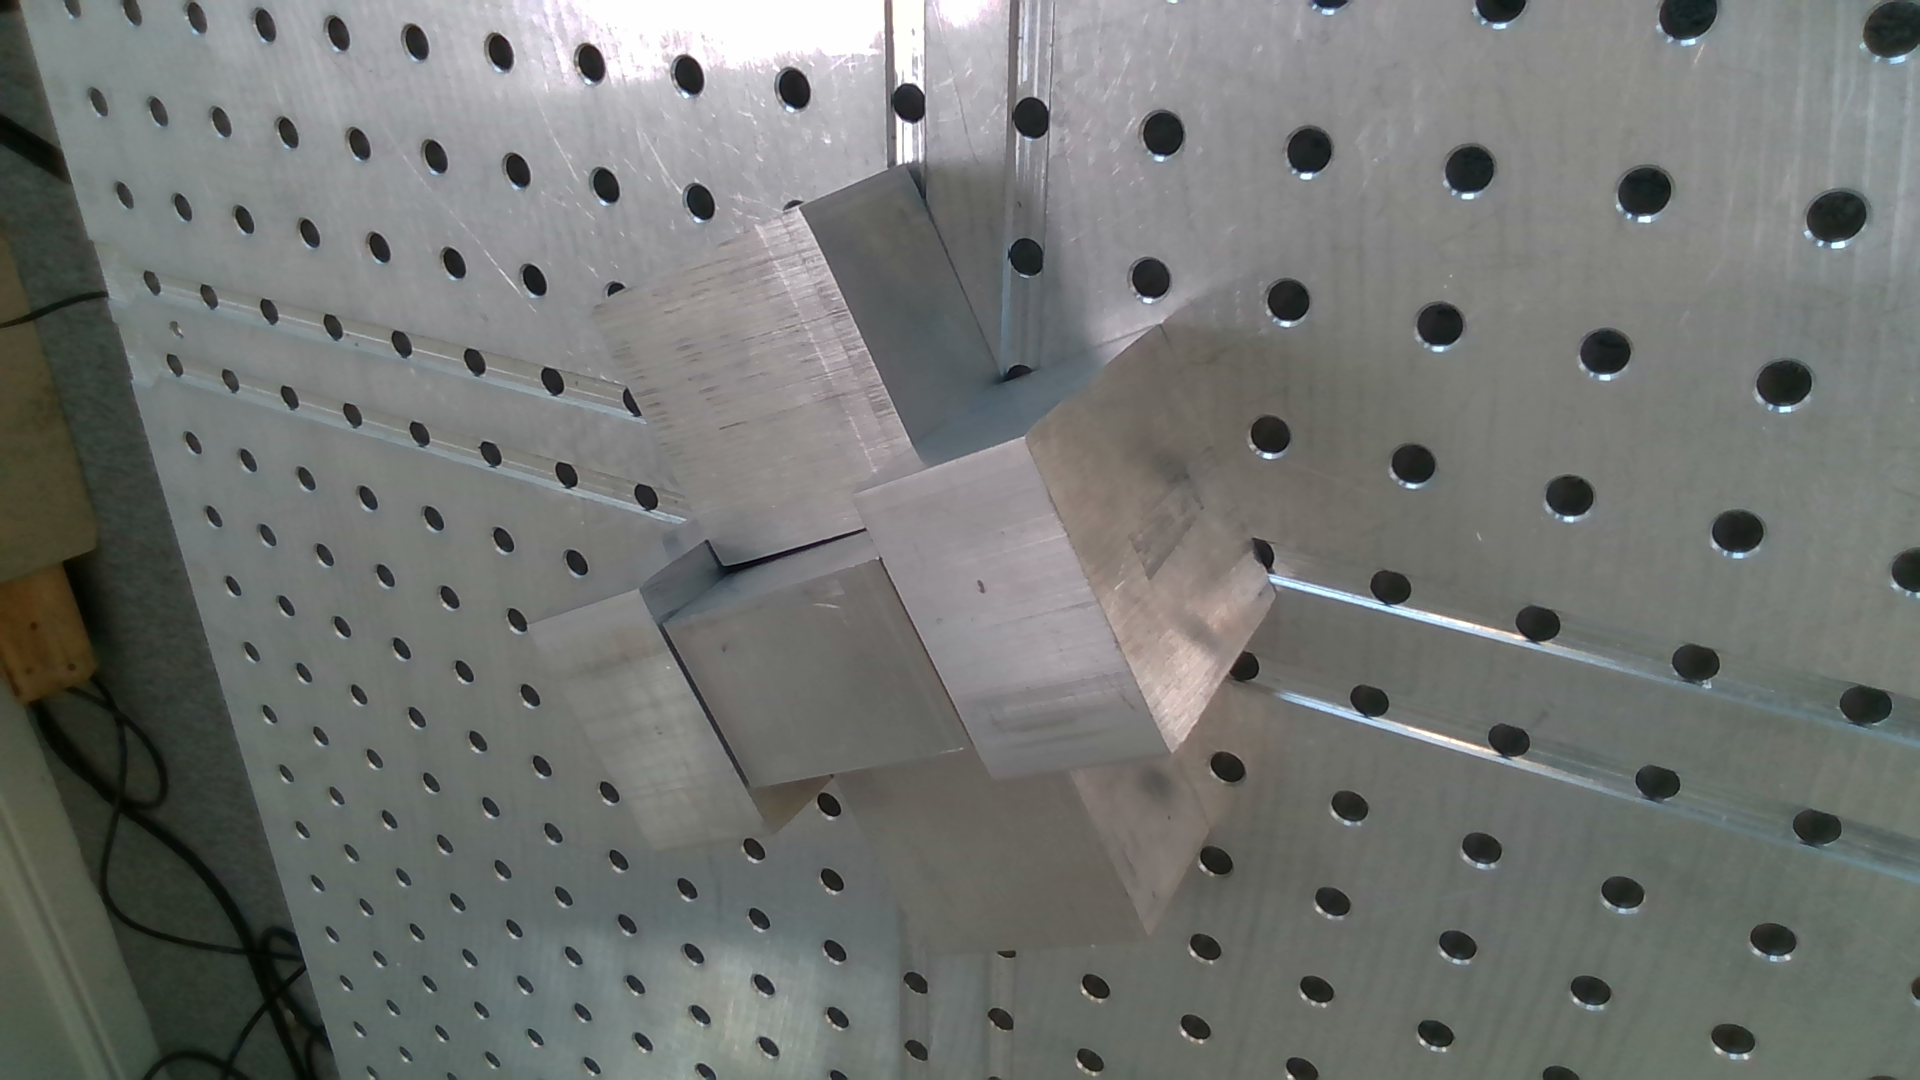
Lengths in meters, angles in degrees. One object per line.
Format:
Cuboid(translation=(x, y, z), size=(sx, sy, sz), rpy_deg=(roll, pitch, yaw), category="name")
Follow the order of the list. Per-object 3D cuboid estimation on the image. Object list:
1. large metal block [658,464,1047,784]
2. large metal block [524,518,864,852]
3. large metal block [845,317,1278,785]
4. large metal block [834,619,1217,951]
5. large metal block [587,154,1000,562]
Cuboid(translation=(-0.020, 0.019, 0.378), size=(0.080, 0.080, 0.050), rpy_deg=(-16, 106, 37), category="large metal block")
Cuboid(translation=(-0.069, 0.035, 0.418), size=(0.050, 0.080, 0.080), rpy_deg=(-16, 106, 37), category="large metal block")
Cuboid(translation=(0.029, 0.001, 0.338), size=(0.050, 0.080, 0.080), rpy_deg=(-16, 106, 36), category="large metal block")
Cuboid(translation=(0.016, 0.071, 0.403), size=(0.080, 0.050, 0.080), rpy_deg=(-16, 106, 39), category="large metal block")
Cuboid(translation=(-0.041, -0.048, 0.375), size=(0.080, 0.050, 0.080), rpy_deg=(-14, 107, 36), category="large metal block")
